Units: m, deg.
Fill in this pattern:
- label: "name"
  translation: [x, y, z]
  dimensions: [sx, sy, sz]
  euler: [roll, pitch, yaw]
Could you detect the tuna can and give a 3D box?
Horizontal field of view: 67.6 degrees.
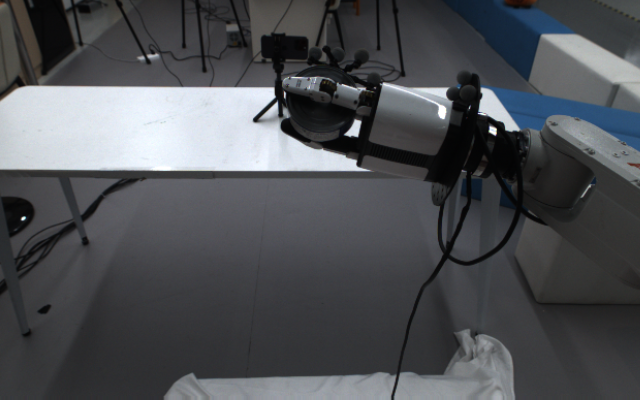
- label: "tuna can"
  translation: [0.003, -0.116, 0.576]
  dimensions: [0.085, 0.034, 0.085]
  euler: [0, 72, 0]
